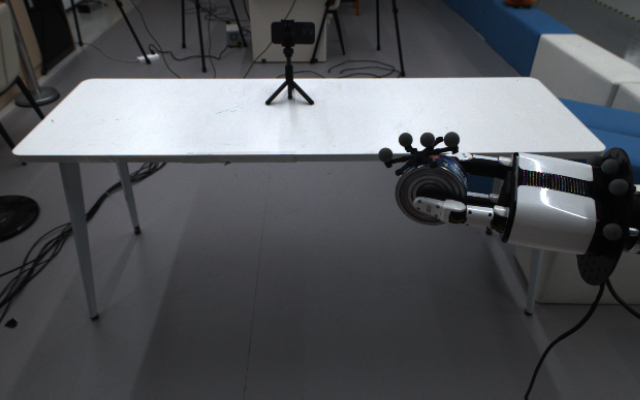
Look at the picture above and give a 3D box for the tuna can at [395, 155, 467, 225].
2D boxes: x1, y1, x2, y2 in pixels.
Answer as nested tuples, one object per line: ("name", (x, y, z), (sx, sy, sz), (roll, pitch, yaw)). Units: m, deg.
("tuna can", (0.140, -0.006, 0.588), (0.085, 0.085, 0.034), (11, 34, 13))
